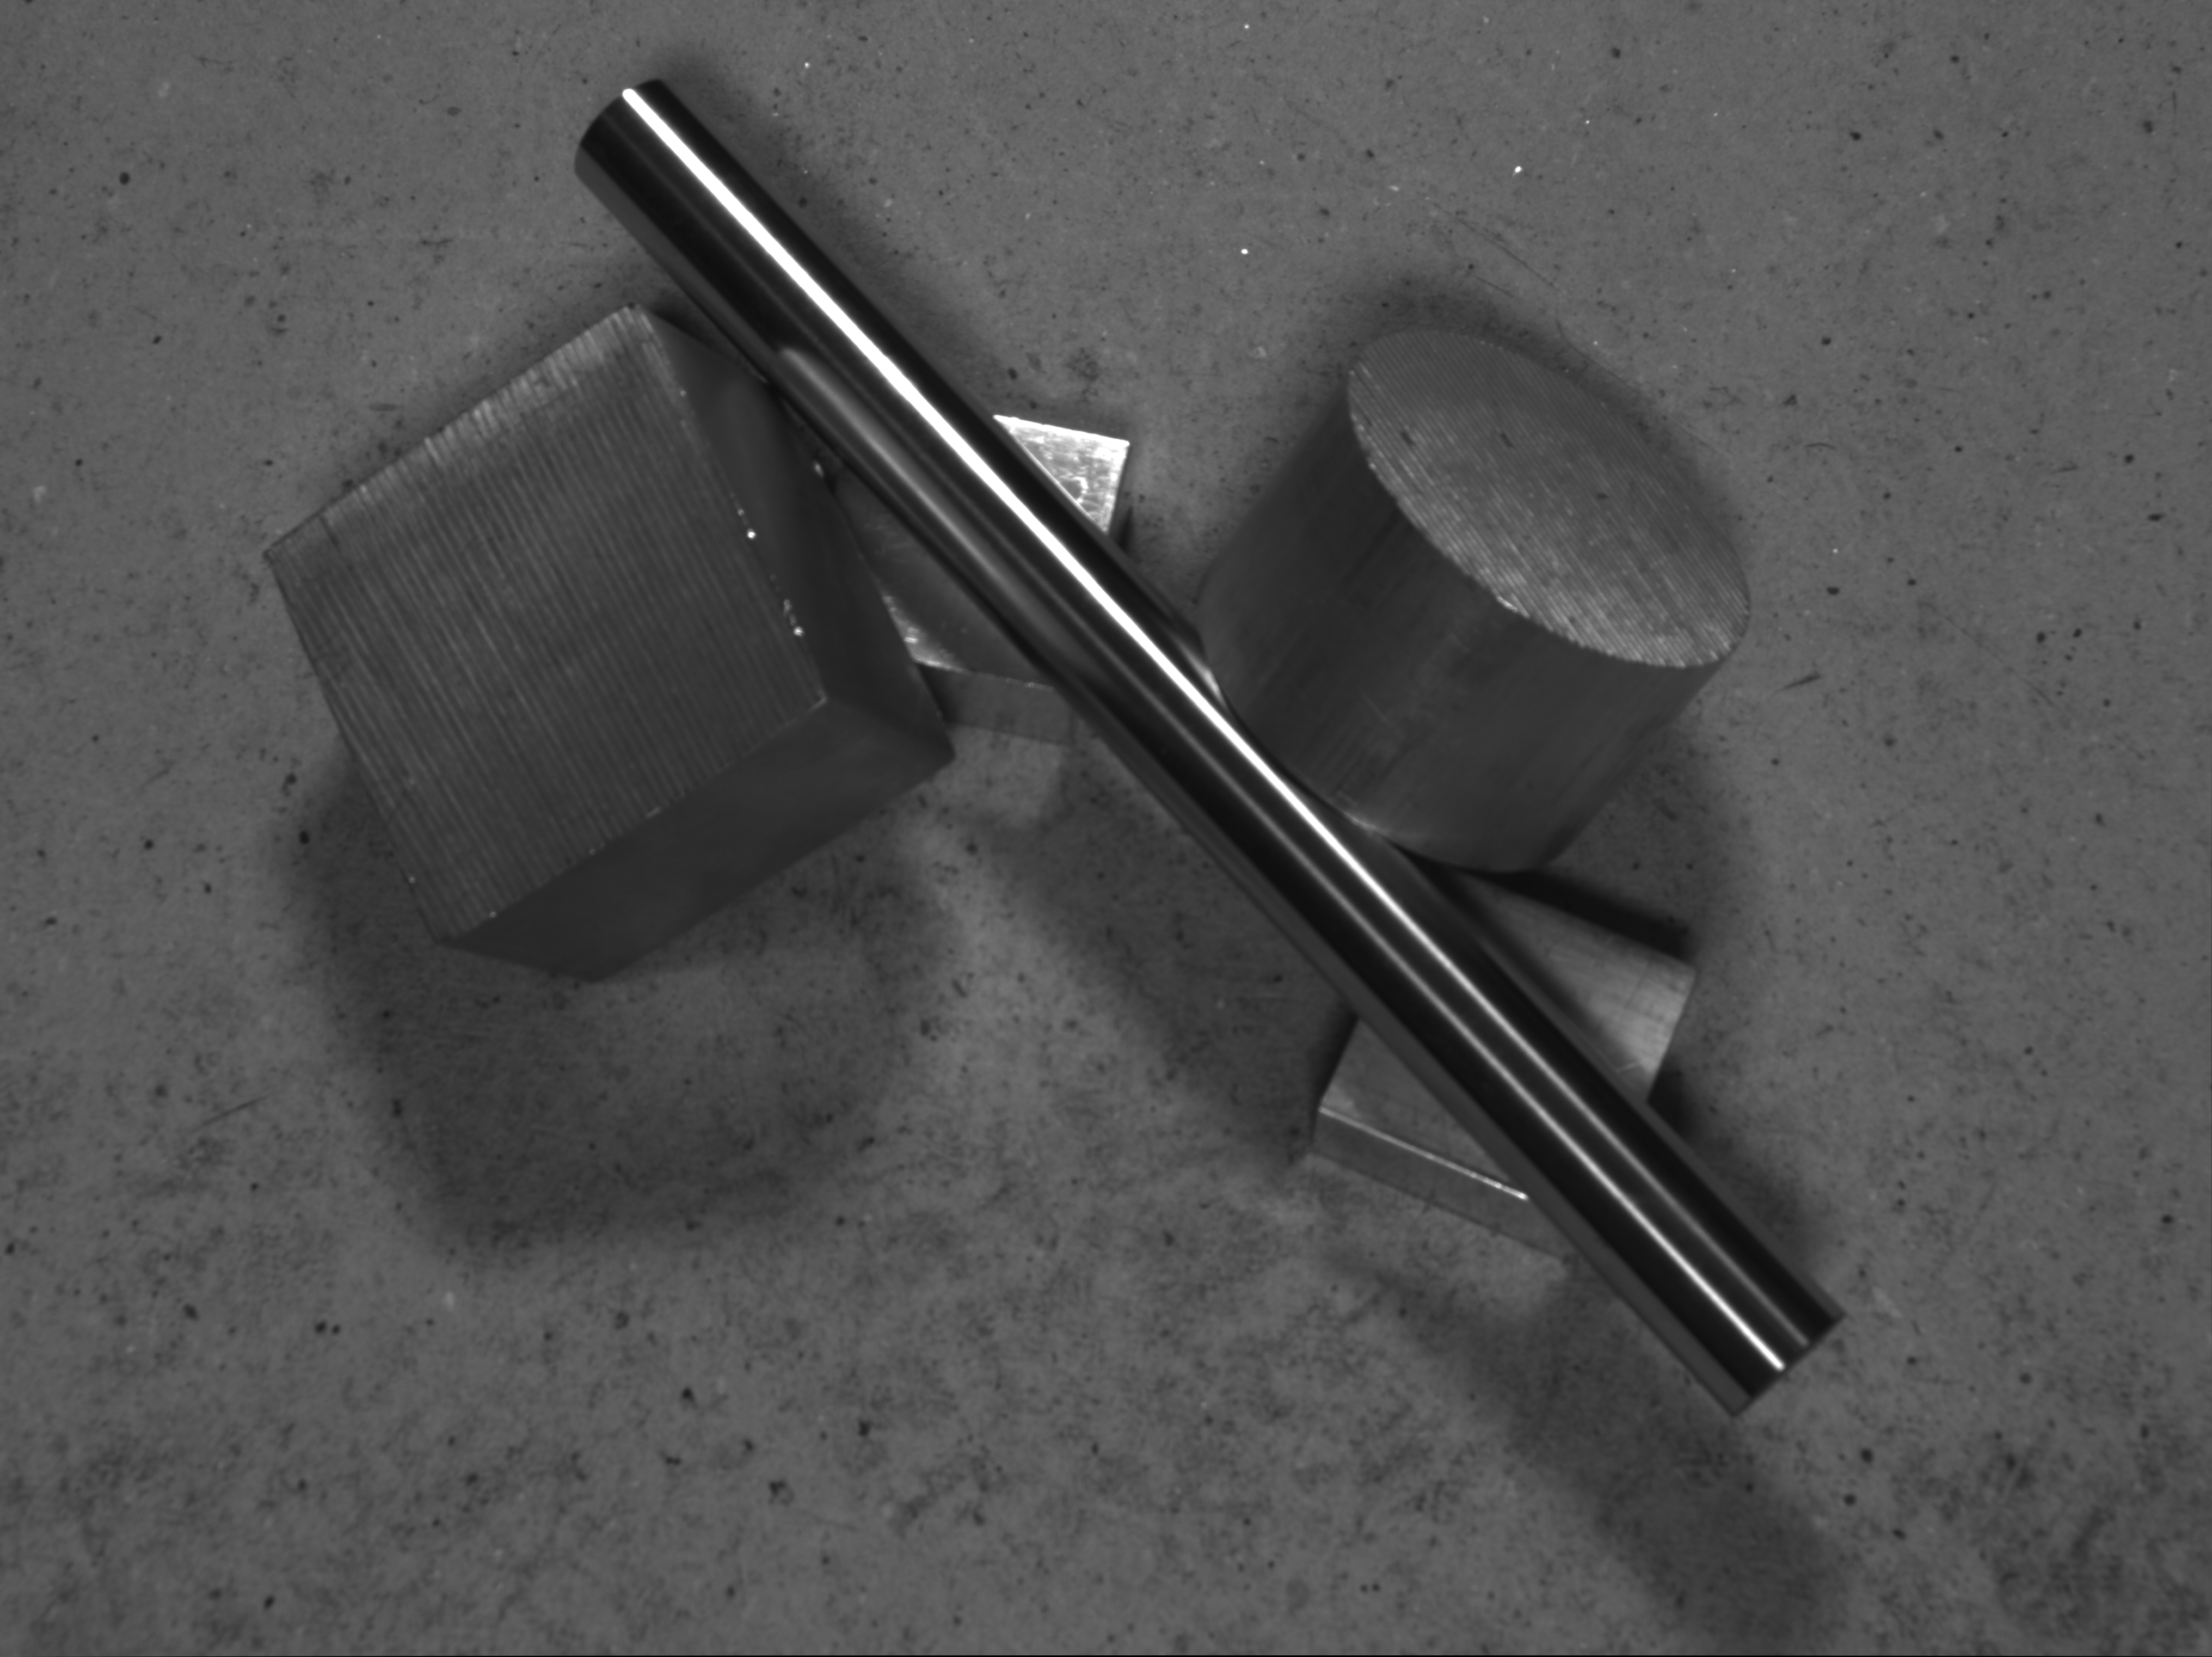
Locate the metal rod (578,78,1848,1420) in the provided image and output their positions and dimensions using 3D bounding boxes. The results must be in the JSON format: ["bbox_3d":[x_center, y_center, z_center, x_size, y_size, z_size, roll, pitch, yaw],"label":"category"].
[{"bbox_3d":[0.012,-0.020,0.626,0.025,0.025,0.300,-39,74,-13],"label":"metal rod"}]

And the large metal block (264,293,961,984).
[{"bbox_3d":[-0.084,-0.030,0.625,0.080,0.050,0.080,-31,72,14],"label":"large metal block"}]

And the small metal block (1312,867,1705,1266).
[{"bbox_3d":[0.069,0.040,0.631,0.050,0.025,0.050,23,71,8],"label":"small metal block"}]

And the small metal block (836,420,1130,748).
[{"bbox_3d":[-0.025,-0.047,0.663,0.050,0.025,0.050,12,70,4],"label":"small metal block"}]

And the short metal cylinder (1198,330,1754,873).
[{"bbox_3d":[0.063,-0.039,0.625,0.080,0.050,0.080,23,37,-18],"label":"short metal cylinder"}]
